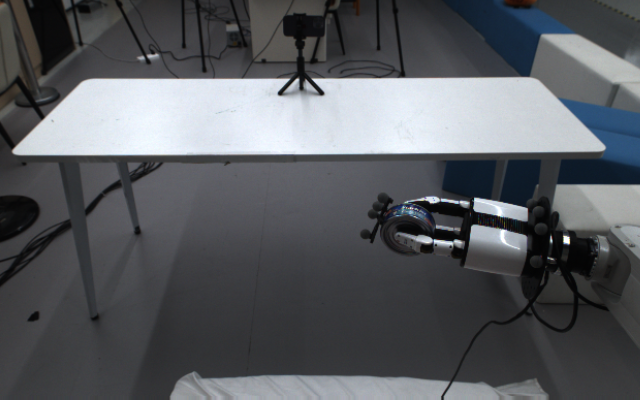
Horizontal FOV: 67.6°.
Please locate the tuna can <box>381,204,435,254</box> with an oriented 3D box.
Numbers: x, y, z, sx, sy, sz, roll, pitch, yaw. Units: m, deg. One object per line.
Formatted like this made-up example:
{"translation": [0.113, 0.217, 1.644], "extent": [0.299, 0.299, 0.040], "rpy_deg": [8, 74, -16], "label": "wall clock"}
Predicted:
{"translation": [0.143, 0.047, 0.778], "extent": [0.085, 0.085, 0.034], "rpy_deg": [9, 35, 10], "label": "tuna can"}
